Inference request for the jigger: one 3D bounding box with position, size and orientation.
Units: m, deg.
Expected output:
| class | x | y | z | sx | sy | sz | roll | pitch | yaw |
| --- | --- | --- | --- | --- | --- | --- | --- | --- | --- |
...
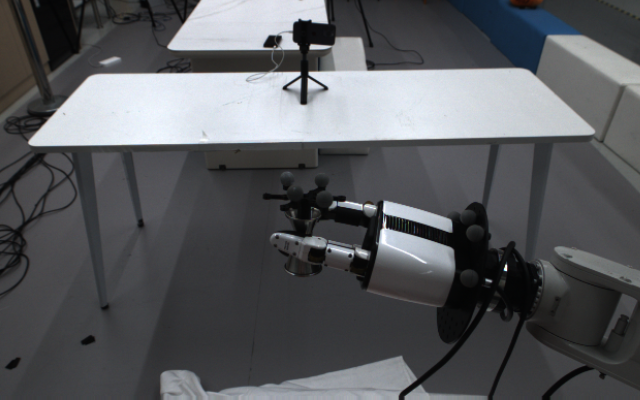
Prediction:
| class | x | y | z | sx | sy | sz | roll | pitch | yaw |
| --- | --- | --- | --- | --- | --- | --- | --- | --- | --- |
| jigger | -0.018 | 0.043 | 0.546 | 0.043 | 0.071 | 0.043 | 1 | 20 | -1 |
